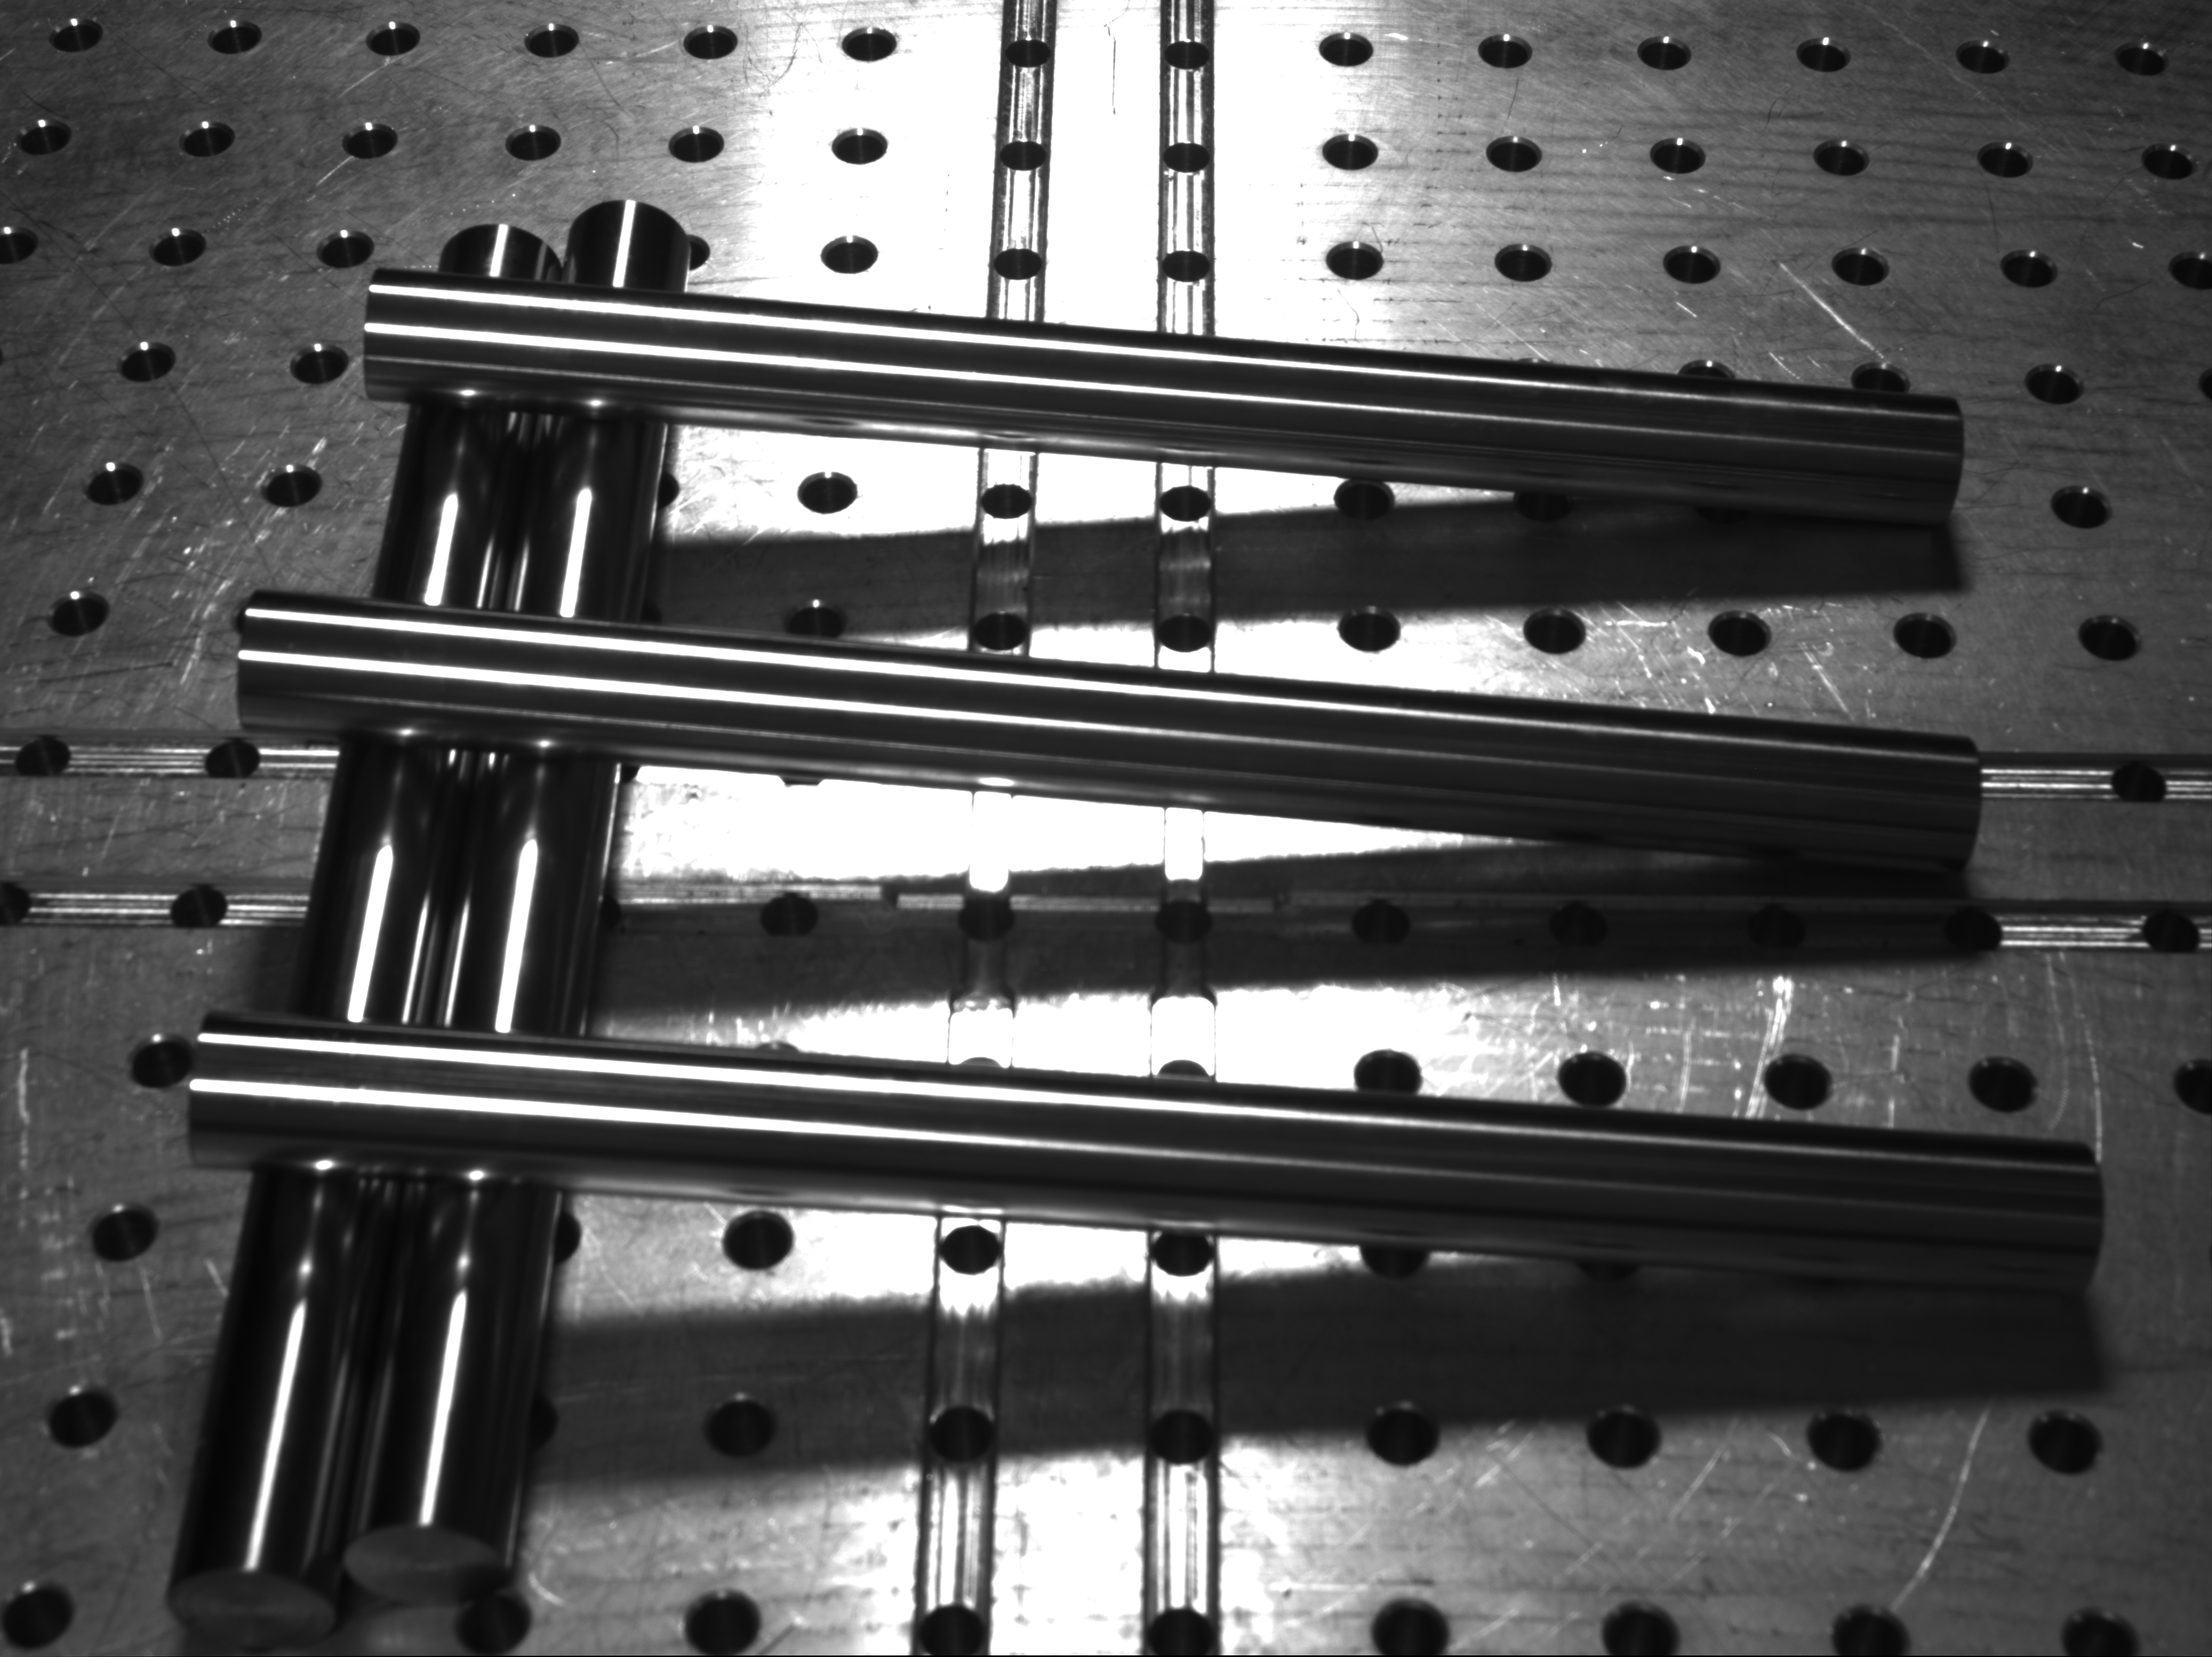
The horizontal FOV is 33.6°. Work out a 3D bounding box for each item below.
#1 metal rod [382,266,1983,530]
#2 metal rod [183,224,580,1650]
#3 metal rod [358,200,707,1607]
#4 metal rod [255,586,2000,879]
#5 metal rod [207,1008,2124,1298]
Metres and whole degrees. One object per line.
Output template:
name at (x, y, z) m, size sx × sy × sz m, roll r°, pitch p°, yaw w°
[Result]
metal rod at (0.016, -0.081, 0.695) m, size 0.300 × 0.025 × 0.025 m, roll 4°, pitch 50°, yaw -4°
metal rod at (-0.122, 0.002, 0.643) m, size 0.025 × 0.025 × 0.300 m, roll 1°, pitch 50°, yaw 1°
metal rod at (-0.097, -0.004, 0.647) m, size 0.025 × 0.025 × 0.300 m, roll 1°, pitch 50°, yaw 1°
metal rod at (0.005, -0.016, 0.639) m, size 0.300 × 0.025 × 0.025 m, roll 5°, pitch 50°, yaw -4°
metal rod at (0.011, 0.052, 0.582) m, size 0.300 × 0.025 × 0.025 m, roll 4°, pitch 50°, yaw -4°
